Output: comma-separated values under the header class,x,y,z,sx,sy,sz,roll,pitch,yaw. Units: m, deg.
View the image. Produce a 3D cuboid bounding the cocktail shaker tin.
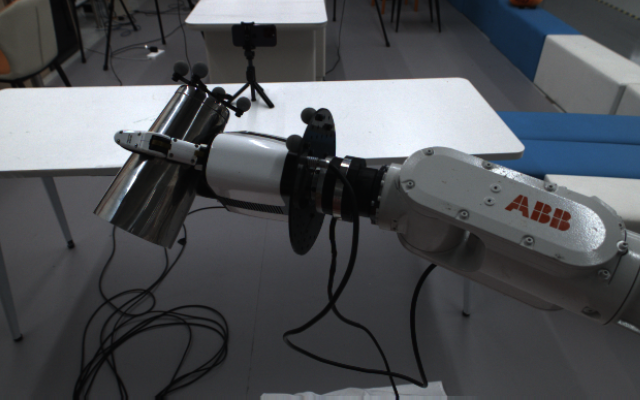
class,x,y,z,sx,sy,sz,roll,pitch,yaw
cocktail shaker tin,-0.169,-0.043,0.551,0.093,0.093,0.170,21,81,25
